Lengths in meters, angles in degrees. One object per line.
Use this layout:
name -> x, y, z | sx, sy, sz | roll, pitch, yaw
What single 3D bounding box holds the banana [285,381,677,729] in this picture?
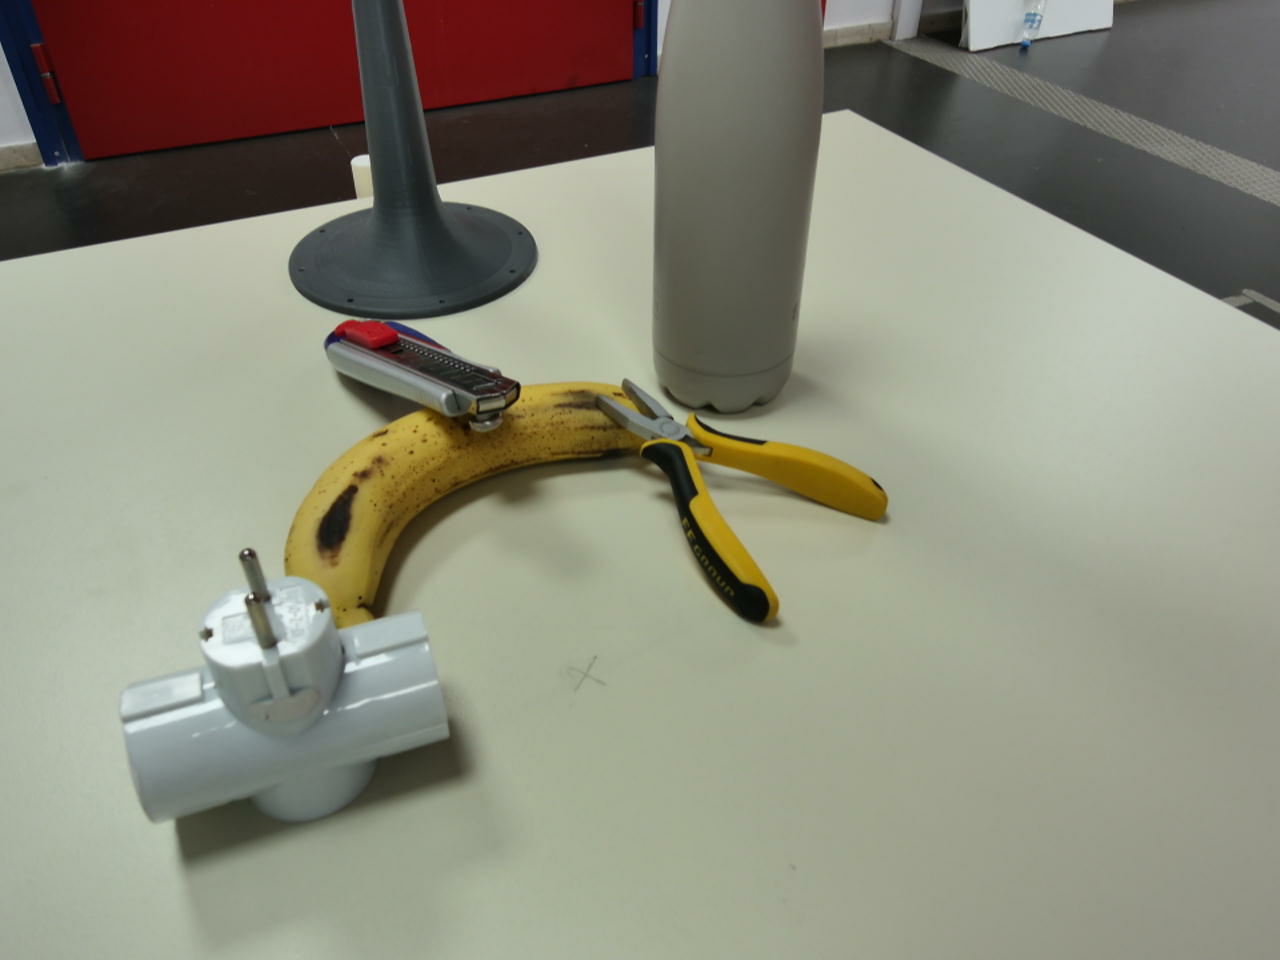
banana -> -0.073, 0.003, 0.421 | 0.097, 0.038, 0.186 | 23, 43, 27
